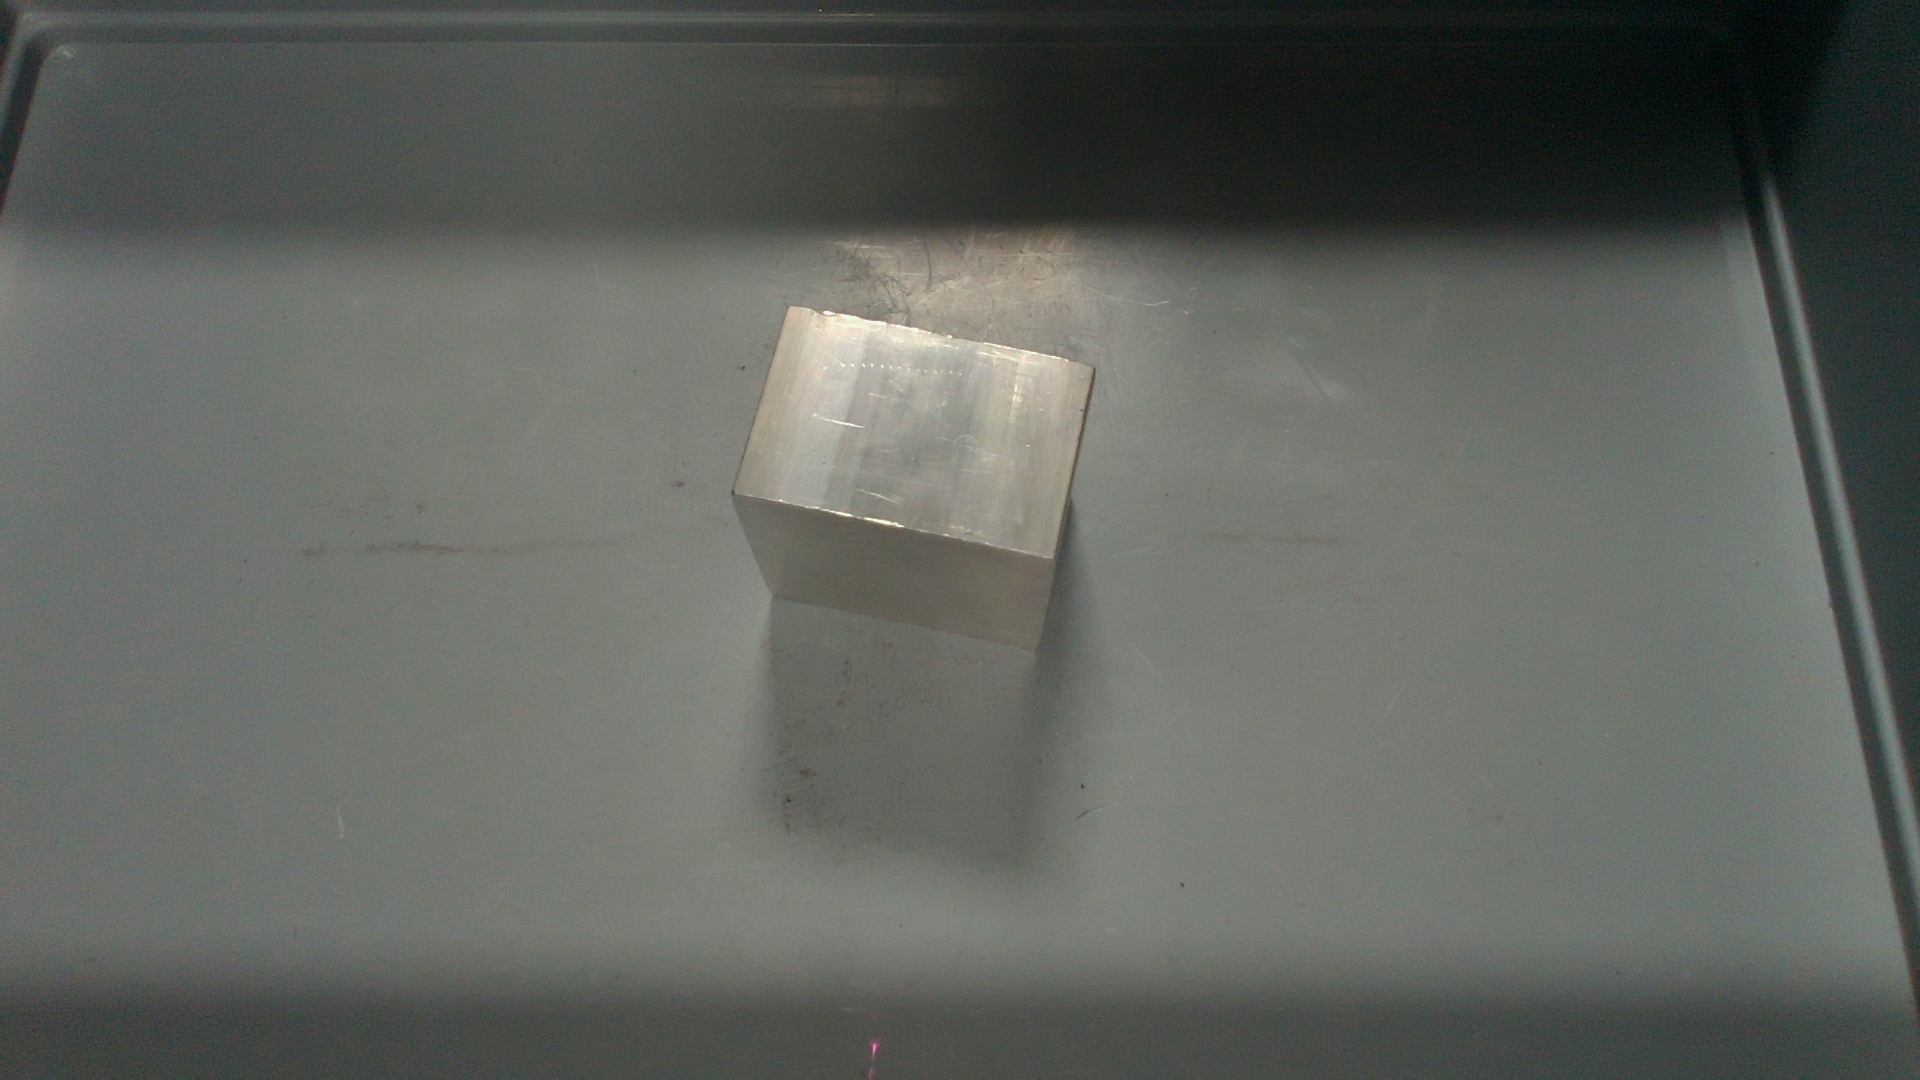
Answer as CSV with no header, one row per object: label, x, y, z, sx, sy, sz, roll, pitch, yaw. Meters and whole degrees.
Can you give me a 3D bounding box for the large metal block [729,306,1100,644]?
large metal block,-0.010,-0.014,0.368,0.080,0.080,0.050,11,70,4
